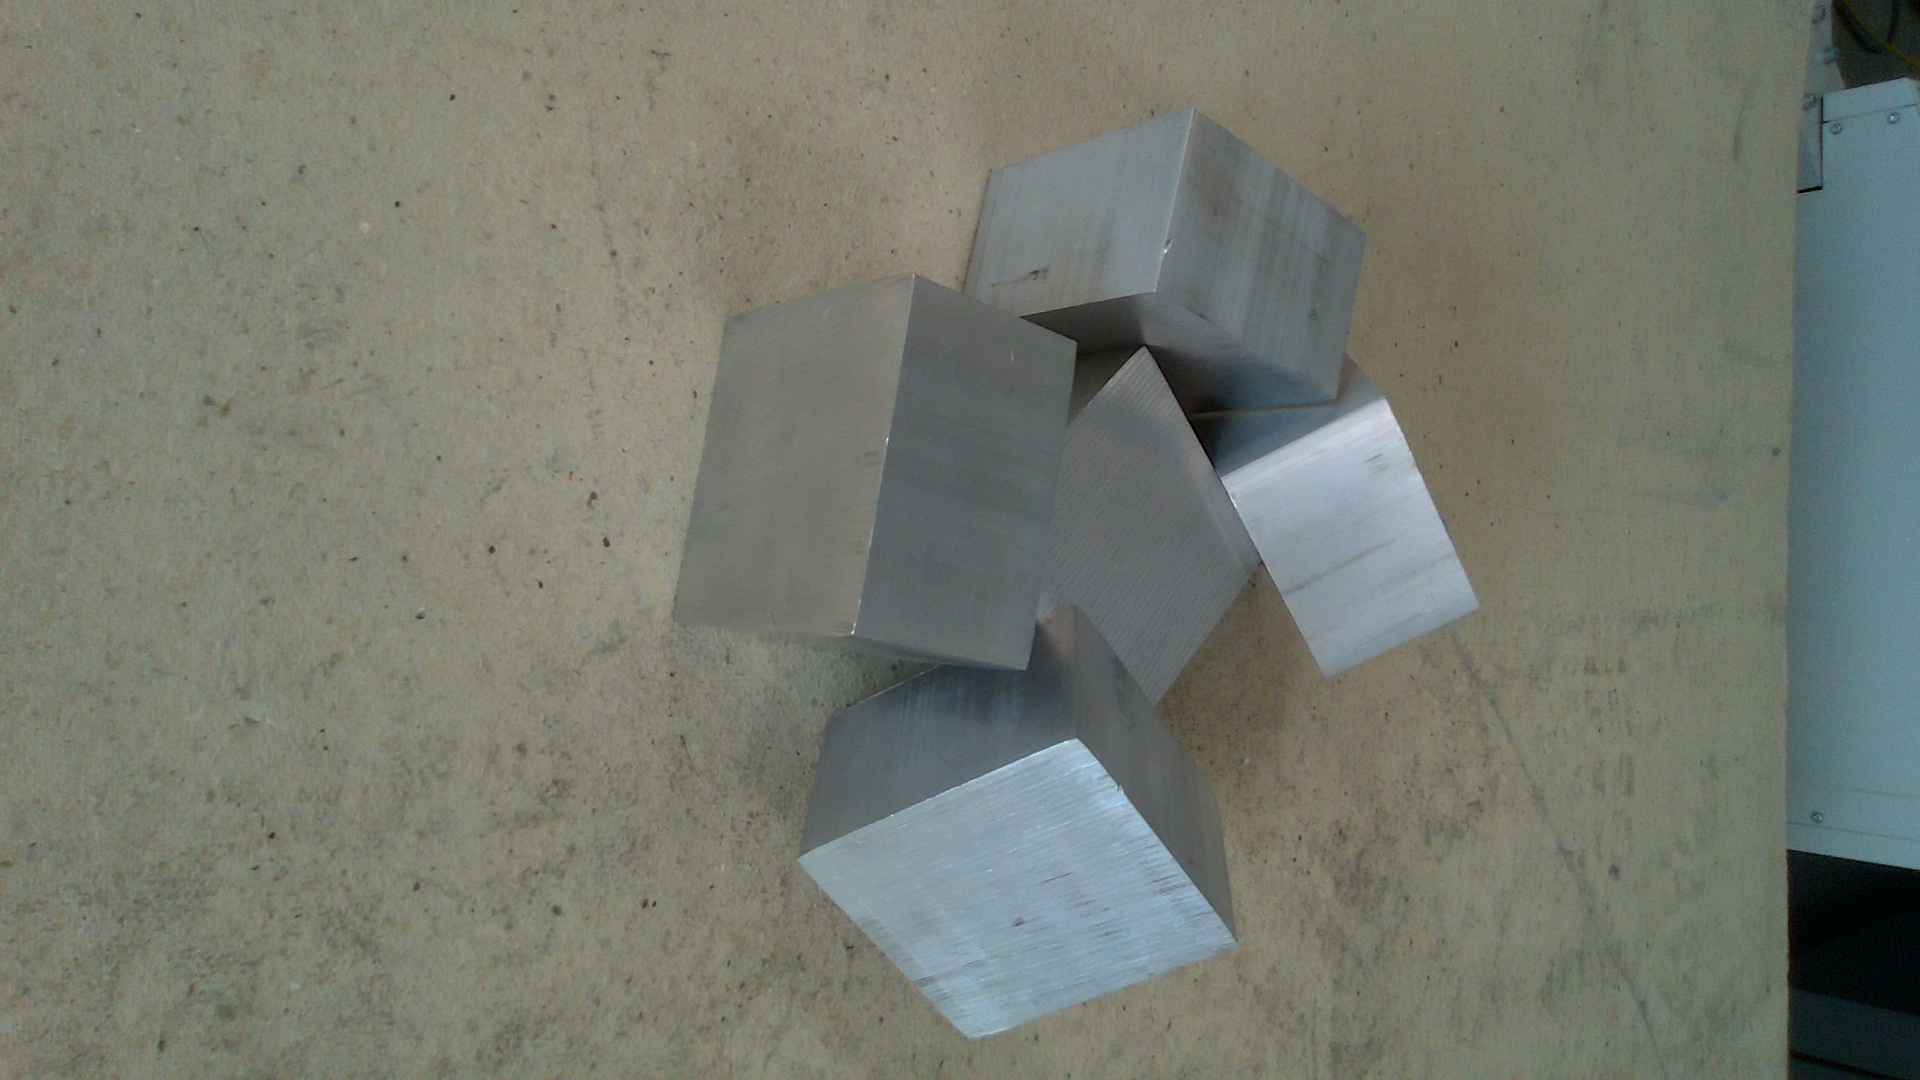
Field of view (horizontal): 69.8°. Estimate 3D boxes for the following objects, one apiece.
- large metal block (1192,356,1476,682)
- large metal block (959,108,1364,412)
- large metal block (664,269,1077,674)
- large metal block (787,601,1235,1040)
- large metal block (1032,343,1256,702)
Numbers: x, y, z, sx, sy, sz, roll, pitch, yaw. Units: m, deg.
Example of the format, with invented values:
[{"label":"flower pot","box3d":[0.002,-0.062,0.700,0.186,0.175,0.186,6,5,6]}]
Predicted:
[{"label":"large metal block","box3d":[0.113,-0.016,0.440,0.050,0.080,0.080,-28,114,10]},{"label":"large metal block","box3d":[0.057,-0.075,0.402,0.080,0.080,0.050,20,77,-38]},{"label":"large metal block","box3d":[-0.023,-0.014,0.335,0.050,0.080,0.080,15,81,-39]},{"label":"large metal block","box3d":[0.015,0.075,0.358,0.080,0.080,0.050,53,22,-27]},{"label":"large metal block","box3d":[0.031,0.001,0.397,0.080,0.050,0.080,-48,120,-29]}]
